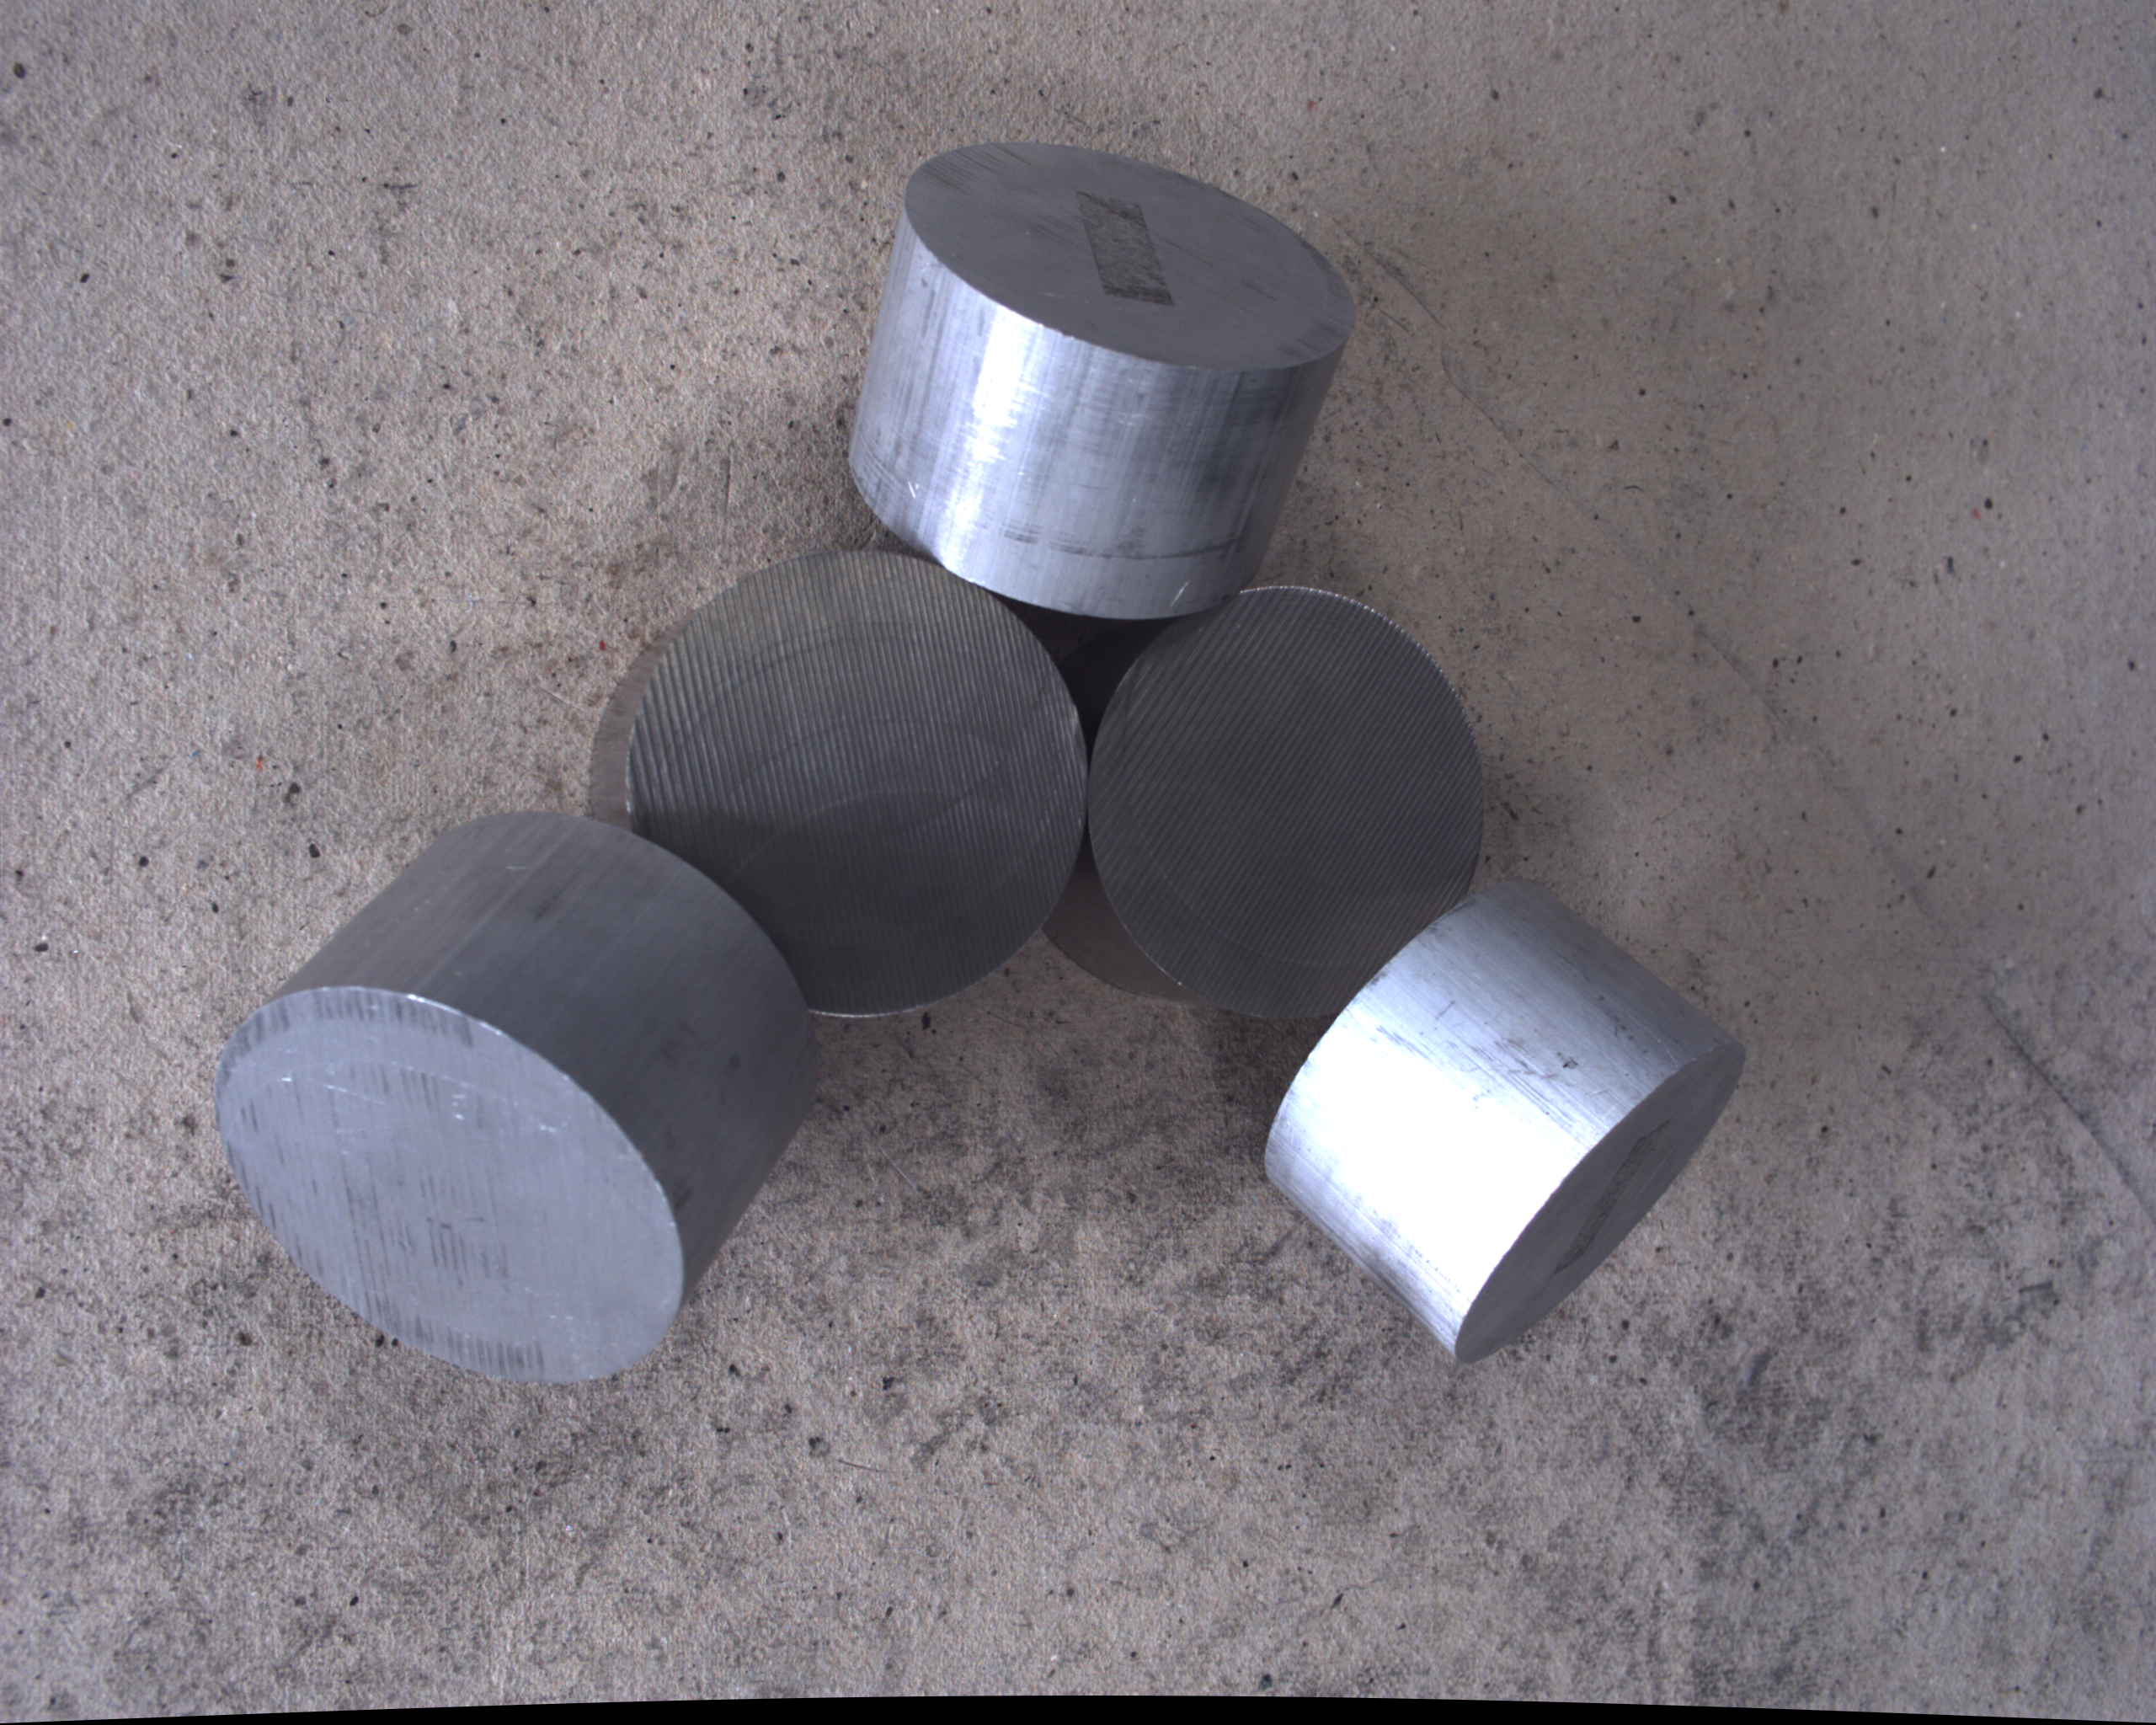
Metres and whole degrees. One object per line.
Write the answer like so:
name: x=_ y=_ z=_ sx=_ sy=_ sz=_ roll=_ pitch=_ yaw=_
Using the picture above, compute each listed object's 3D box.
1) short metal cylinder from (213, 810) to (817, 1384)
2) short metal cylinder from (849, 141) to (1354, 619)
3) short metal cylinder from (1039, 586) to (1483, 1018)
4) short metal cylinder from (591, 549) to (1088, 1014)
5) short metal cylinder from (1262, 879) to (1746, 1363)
short metal cylinder: x=-0.090 y=0.038 z=0.341 sx=0.080 sy=0.080 sz=0.050 roll=48 pitch=35 yaw=-14
short metal cylinder: x=0.003 y=-0.088 z=0.376 sx=0.081 sy=0.080 sz=0.050 roll=2 pitch=132 yaw=-20
short metal cylinder: x=0.031 y=-0.011 z=0.408 sx=0.081 sy=0.050 sz=0.080 roll=0 pitch=90 yaw=-20
short metal cylinder: x=-0.045 y=-0.014 z=0.380 sx=0.081 sy=0.050 sz=0.080 roll=0 pitch=90 yaw=-20
short metal cylinder: x=0.082 y=0.050 z=0.405 sx=0.080 sy=0.080 sz=0.050 roll=-39 pitch=61 yaw=-16
